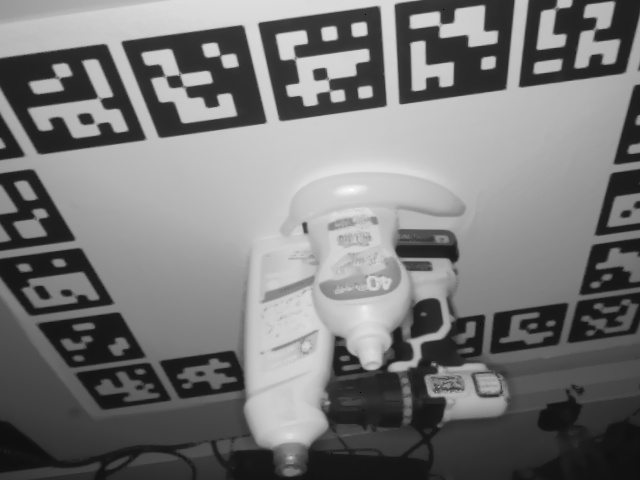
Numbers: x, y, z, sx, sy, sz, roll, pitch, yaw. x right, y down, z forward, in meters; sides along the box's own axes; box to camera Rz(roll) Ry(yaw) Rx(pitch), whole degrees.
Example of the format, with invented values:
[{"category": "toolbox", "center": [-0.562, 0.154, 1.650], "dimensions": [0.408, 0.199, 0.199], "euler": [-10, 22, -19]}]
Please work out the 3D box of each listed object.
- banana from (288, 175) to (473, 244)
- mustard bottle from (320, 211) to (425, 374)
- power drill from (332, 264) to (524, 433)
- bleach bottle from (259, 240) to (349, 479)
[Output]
[{"category": "banana", "center": [0.064, -0.034, 0.720], "dimensions": [0.198, 0.039, 0.073], "euler": [-5, 131, -4]}, {"category": "mustard bottle", "center": [0.052, 0.048, 0.676], "dimensions": [0.096, 0.193, 0.058], "euler": [-6, 132, 2]}, {"category": "power drill", "center": [0.101, 0.108, 0.709], "dimensions": [0.185, 0.188, 0.057], "euler": [3, 133, -6]}, {"category": "bleach bottle", "center": [-0.010, 0.115, 0.698], "dimensions": [0.103, 0.252, 0.067], "euler": [-5, 138, -1]}]
